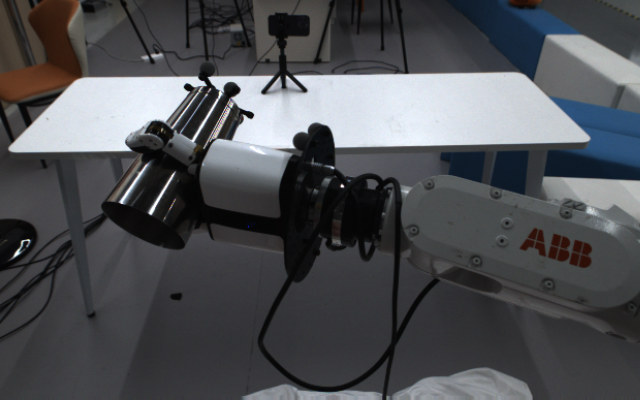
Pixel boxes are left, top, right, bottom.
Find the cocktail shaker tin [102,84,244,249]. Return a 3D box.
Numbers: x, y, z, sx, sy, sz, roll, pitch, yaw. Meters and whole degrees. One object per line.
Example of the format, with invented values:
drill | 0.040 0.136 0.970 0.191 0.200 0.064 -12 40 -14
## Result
cocktail shaker tin | -0.152 -0.041 0.530 0.093 0.093 0.170 14 61 16
